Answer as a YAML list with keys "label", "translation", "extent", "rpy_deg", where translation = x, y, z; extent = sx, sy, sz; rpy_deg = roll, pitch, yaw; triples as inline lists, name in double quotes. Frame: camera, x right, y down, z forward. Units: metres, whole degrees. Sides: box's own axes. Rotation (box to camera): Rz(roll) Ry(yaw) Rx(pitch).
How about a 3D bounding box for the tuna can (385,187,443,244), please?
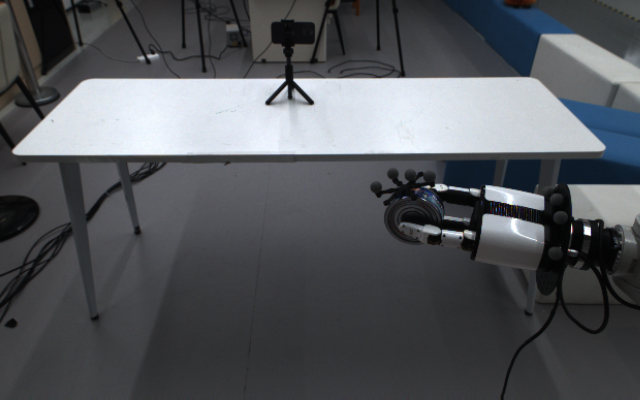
- label: "tuna can"
  translation: [0.140, 0.021, 0.714]
  extent: [0.085, 0.085, 0.034]
  rpy_deg: [11, 34, 13]
